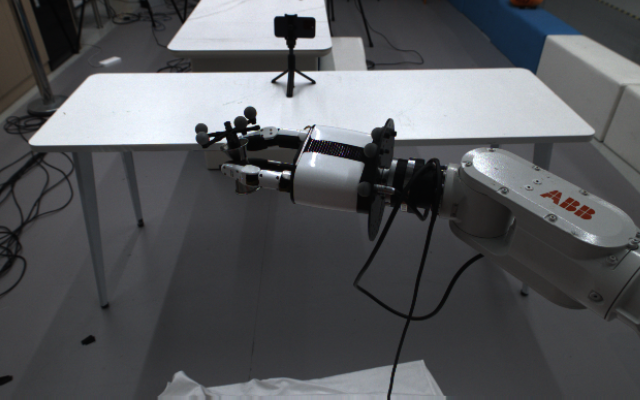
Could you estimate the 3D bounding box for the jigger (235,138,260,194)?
[{"bbox_3d":[-0.106,-0.047,0.669,0.043,0.071,0.043,-12,29,7],"label":"jigger"}]
